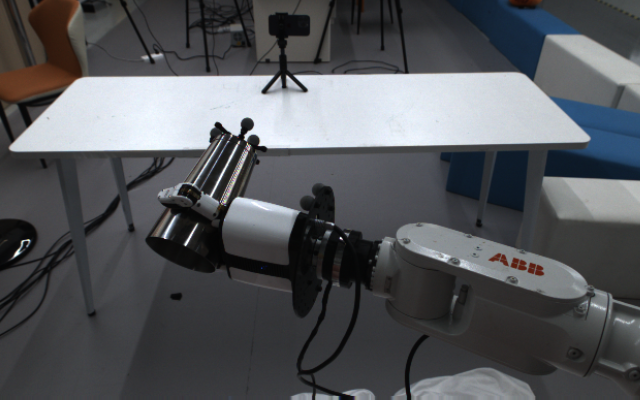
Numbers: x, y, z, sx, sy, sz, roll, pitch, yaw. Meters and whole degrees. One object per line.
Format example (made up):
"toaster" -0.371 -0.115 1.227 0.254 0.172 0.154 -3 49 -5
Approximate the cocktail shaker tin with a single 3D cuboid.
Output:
"cocktail shaker tin" -0.146 0.000 0.632 0.093 0.093 0.170 13 61 16
